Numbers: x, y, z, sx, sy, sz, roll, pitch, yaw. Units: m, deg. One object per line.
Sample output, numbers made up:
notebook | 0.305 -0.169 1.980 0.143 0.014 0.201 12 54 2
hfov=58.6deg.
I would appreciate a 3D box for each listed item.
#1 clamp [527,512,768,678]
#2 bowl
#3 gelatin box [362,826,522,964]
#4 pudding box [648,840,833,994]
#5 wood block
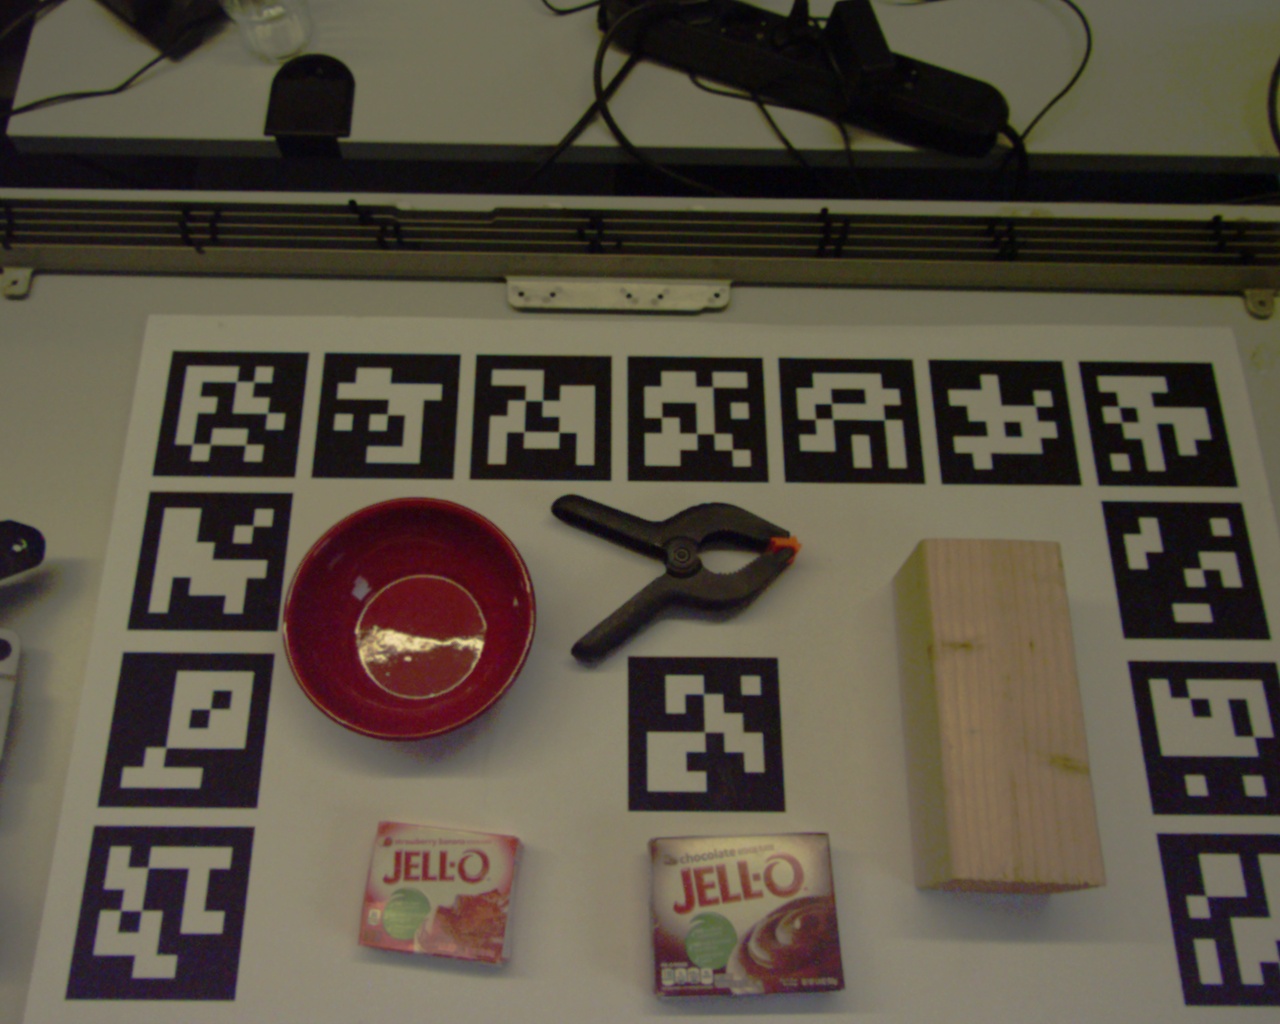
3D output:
clamp | 0.010 0.046 0.810 0.164 0.036 0.122 -9 69 -7
bowl | -0.151 0.081 0.783 0.161 0.055 0.162 0 72 -2
gelatin box | -0.125 0.243 0.726 0.089 0.030 0.073 8 71 2
pudding box | 0.061 0.255 0.722 0.114 0.038 0.090 -1 73 1
wood block | 0.220 0.138 0.741 0.090 0.091 0.207 3 69 -2
